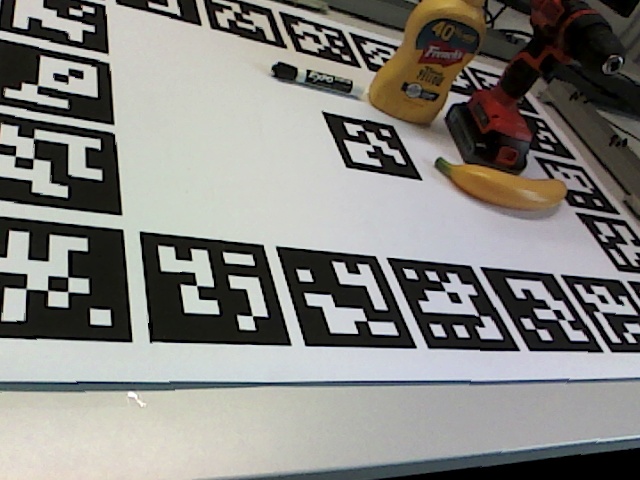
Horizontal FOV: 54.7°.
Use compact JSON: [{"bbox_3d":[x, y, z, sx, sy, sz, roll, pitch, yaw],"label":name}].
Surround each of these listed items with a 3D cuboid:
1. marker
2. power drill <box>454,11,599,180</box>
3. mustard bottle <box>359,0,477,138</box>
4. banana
[{"bbox_3d":[-0.017,-0.182,0.770,0.120,0.019,0.020,8,46,-25],"label":"marker"},{"bbox_3d":[0.246,-0.169,0.758,0.057,0.187,0.185,18,40,-18],"label":"power drill"},{"bbox_3d":[0.132,-0.217,0.763,0.096,0.192,0.058,16,43,-19],"label":"mustard bottle"},{"bbox_3d":[0.219,-0.041,0.761,0.196,0.039,0.074,12,46,-19],"label":"banana"}]
